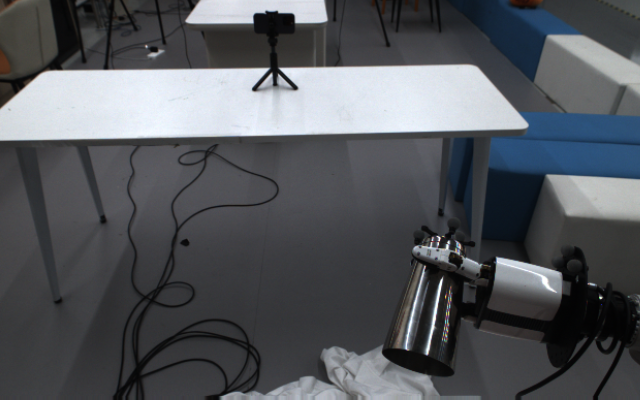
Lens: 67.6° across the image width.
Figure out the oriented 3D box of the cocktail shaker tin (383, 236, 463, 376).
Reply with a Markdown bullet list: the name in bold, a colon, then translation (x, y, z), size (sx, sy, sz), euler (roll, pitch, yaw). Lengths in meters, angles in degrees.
- **cocktail shaker tin**: translation (0.149, 0.132, 0.652), size (0.093, 0.093, 0.170), euler (14, 59, 16)
